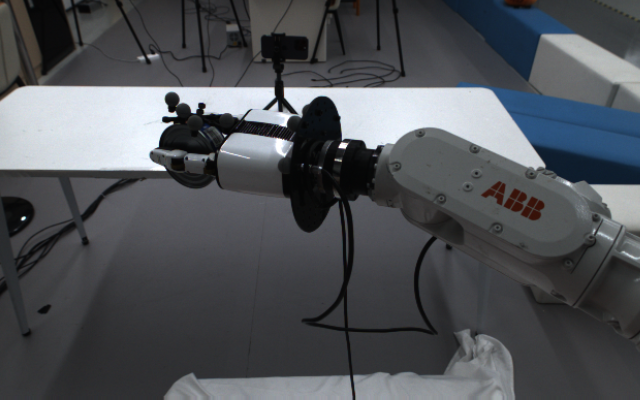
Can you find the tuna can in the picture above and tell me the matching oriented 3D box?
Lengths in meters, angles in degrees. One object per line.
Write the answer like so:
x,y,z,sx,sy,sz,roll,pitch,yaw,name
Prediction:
-0.157,-0.060,0.613,0.085,0.085,0.034,16,28,19,tuna can
